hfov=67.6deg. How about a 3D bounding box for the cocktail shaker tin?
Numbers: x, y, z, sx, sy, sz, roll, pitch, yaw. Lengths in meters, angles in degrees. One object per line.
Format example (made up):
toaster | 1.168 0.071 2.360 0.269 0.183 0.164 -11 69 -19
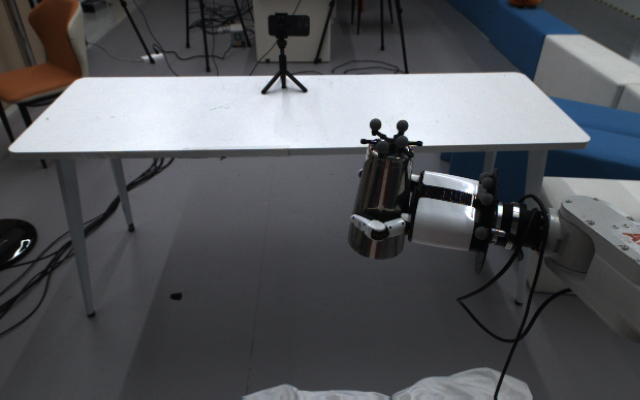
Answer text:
cocktail shaker tin | 0.097 -0.005 0.737 0.093 0.170 0.093 3 34 -2
